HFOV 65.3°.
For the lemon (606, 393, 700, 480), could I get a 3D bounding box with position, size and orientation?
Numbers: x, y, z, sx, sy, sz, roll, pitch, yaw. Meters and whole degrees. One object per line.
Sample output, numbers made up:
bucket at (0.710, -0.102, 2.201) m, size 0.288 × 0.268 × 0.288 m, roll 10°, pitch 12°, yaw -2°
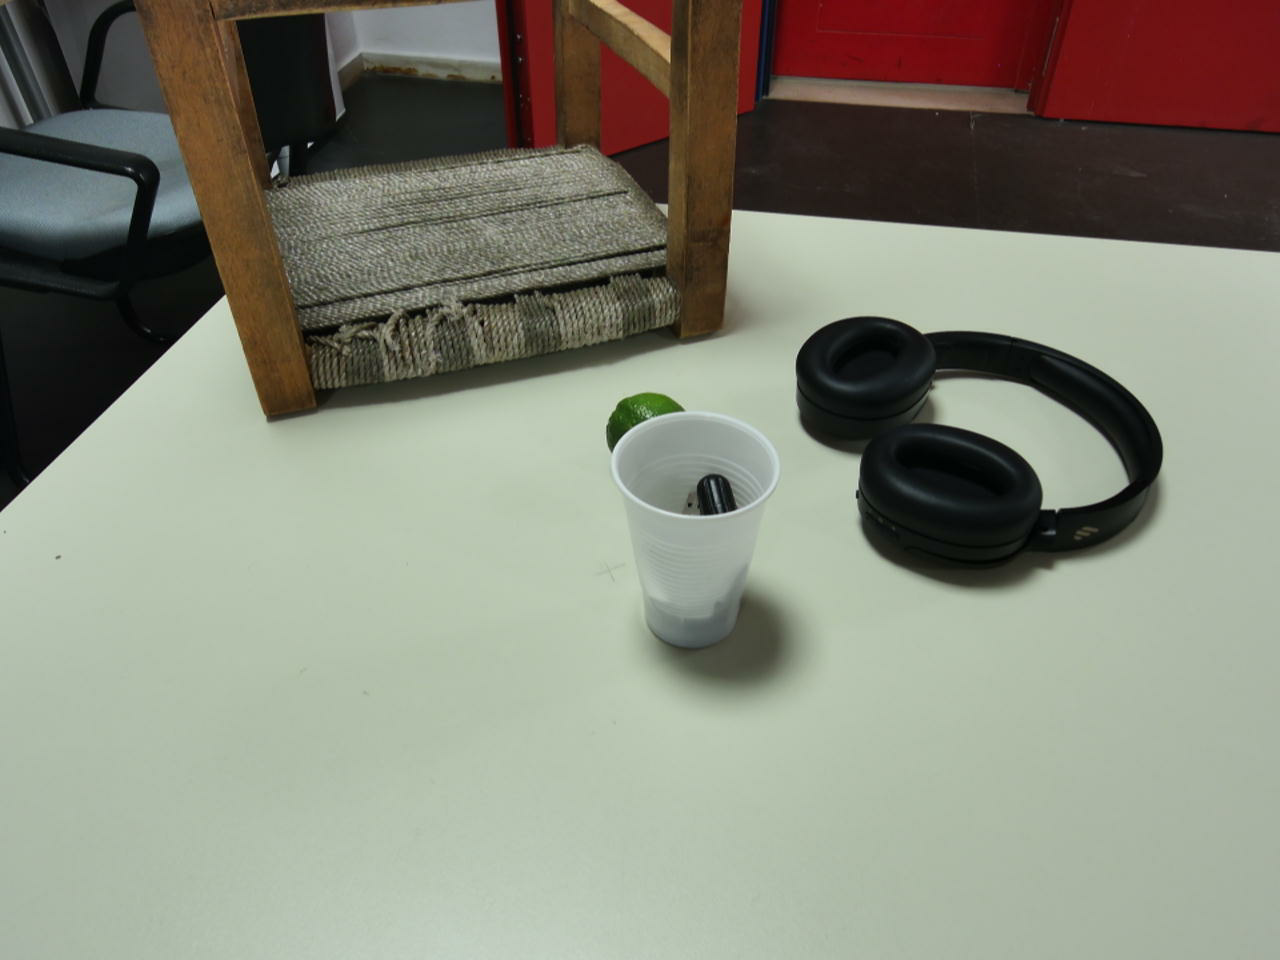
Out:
lemon at (0.009, -0.027, 0.607) m, size 0.057 × 0.051 × 0.054 m, roll 5°, pitch 39°, yaw 7°
